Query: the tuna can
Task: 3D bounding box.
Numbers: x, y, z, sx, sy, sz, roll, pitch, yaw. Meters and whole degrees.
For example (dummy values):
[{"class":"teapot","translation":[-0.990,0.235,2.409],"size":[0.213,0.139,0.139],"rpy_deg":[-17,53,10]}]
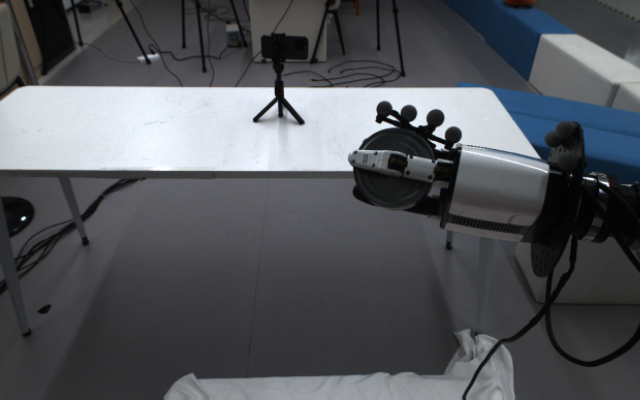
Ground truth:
[{"class":"tuna can","translation":[0.083,-0.035,0.521],"size":[0.085,0.085,0.034],"rpy_deg":[13,-6,16]}]
